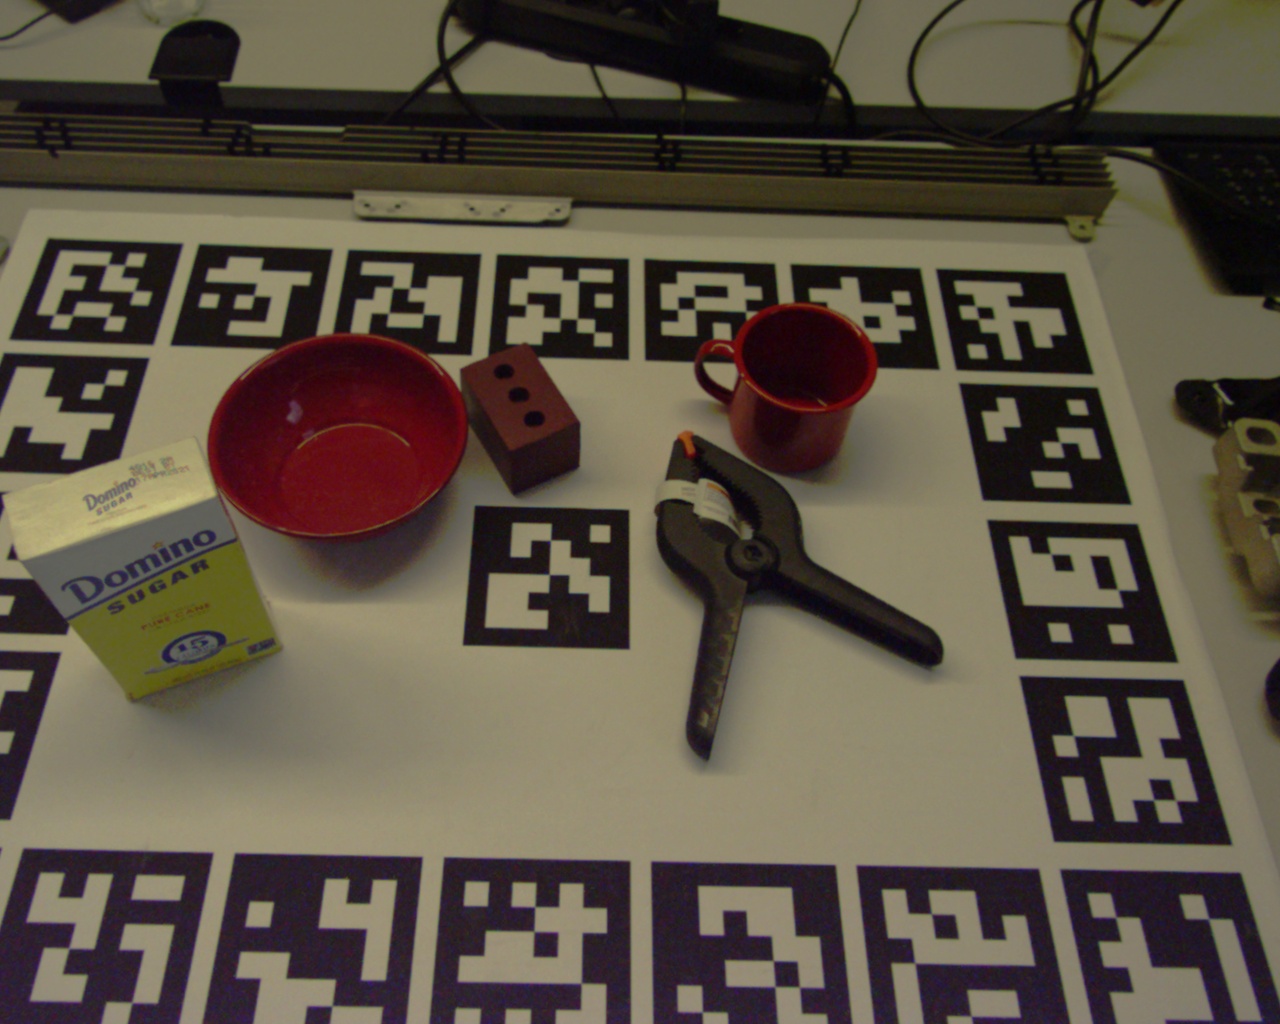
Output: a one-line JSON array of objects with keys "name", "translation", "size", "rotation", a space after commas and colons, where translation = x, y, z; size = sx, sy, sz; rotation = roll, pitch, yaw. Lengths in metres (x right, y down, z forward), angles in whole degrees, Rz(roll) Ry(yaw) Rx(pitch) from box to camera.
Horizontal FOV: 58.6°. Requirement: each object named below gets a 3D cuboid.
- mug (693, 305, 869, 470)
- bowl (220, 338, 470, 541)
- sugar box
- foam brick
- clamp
[{"name": "mug", "translation": [0.091, -0.087, 0.792], "size": [0.117, 0.081, 0.093], "rotation": [25, 60, 8]}, {"name": "bowl", "translation": [-0.194, -0.038, 0.766], "size": [0.161, 0.055, 0.162], "rotation": [1, 58, -3]}, {"name": "sugar box", "translation": [-0.261, 0.043, 0.642], "size": [0.092, 0.176, 0.045], "rotation": [-21, 64, -17]}, {"name": "foam brick", "translation": [-0.079, -0.056, 0.792], "size": [0.052, 0.051, 0.079], "rotation": [-24, 64, -16]}, {"name": "clamp", "translation": [0.061, 0.032, 0.740], "size": [0.164, 0.036, 0.204], "rotation": [-21, 63, -13]}]
